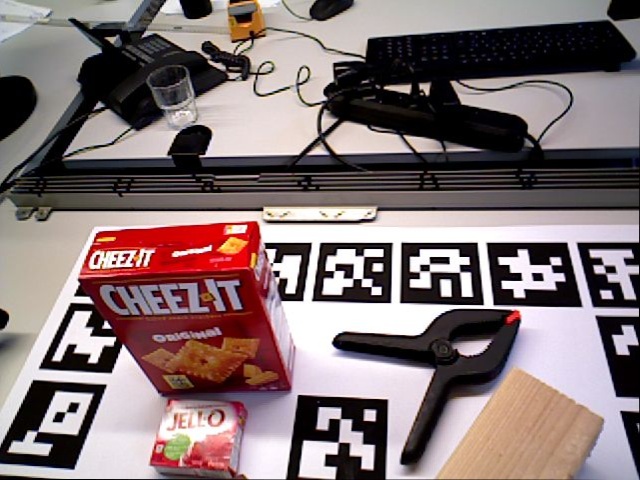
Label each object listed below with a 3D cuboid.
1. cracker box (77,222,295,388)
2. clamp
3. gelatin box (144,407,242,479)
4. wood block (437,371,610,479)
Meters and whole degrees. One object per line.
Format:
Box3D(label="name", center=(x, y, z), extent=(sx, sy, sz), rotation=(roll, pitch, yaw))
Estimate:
Box3D(label="cracker box", center=(-0.120, 0.073, 0.551), extent=(0.164, 0.218, 0.071), rotation=(-2, 49, 6))
Box3D(label="clamp", center=(0.128, 0.129, 0.581), extent=(0.201, 0.037, 0.164), rotation=(-25, 51, -9))
Box3D(label="gelatin box", center=(-0.131, 0.214, 0.568), extent=(0.089, 0.030, 0.072), rotation=(-2, 52, 10))
Box3D(label="wood block", center=(0.149, 0.228, 0.465), extent=(0.090, 0.092, 0.202), rotation=(29, 58, 32))
